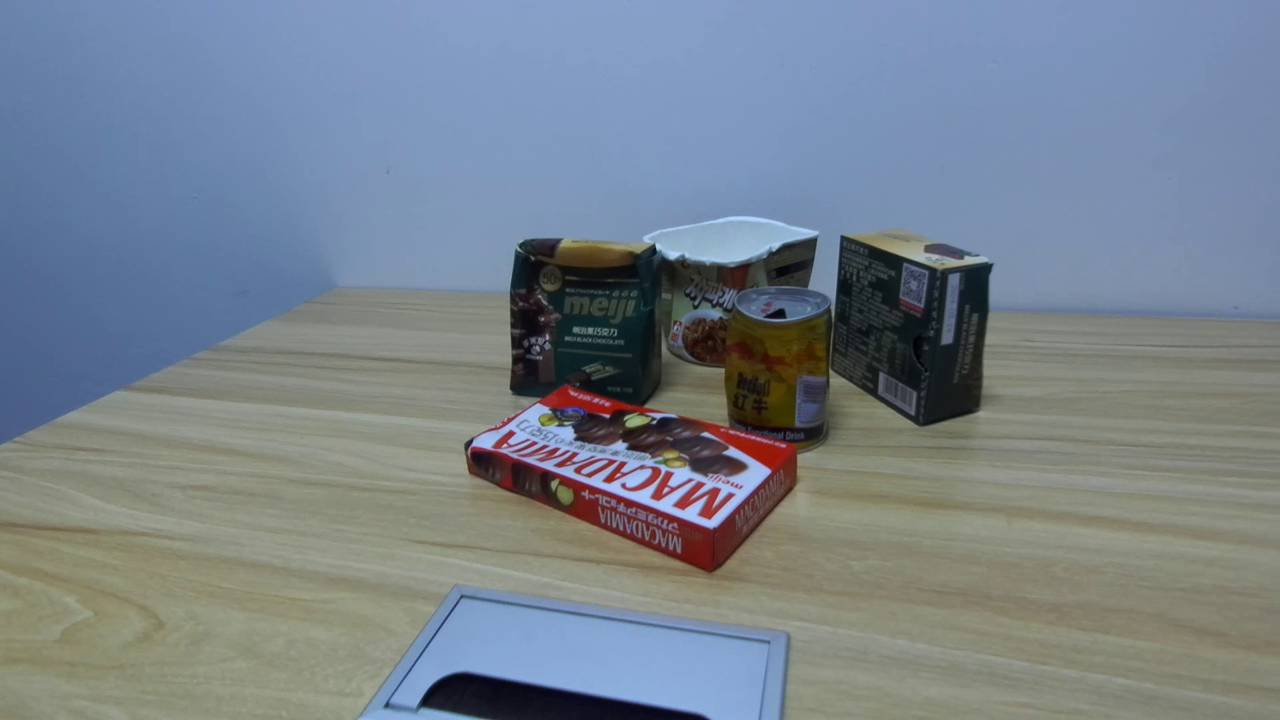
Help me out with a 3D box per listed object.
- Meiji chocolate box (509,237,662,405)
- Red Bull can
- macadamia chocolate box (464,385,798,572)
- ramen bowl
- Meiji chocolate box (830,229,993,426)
[{"bbox_3d":[-0.040,-0.031,0.531,0.117,0.117,0.052,5,17,17],"label":"Meiji chocolate box"},{"bbox_3d":[0.089,0.005,0.450,0.072,0.092,0.072,-1,25,1],"label":"Red Bull can"},{"bbox_3d":[-0.009,0.059,0.425,0.182,0.028,0.106,13,27,34],"label":"macadamia chocolate box"},{"bbox_3d":[0.068,-0.062,0.603,0.133,0.097,0.114,16,31,34],"label":"ramen bowl"},{"bbox_3d":[0.191,-0.028,0.498,0.058,0.111,0.113,-10,24,-17],"label":"Meiji chocolate box"}]
